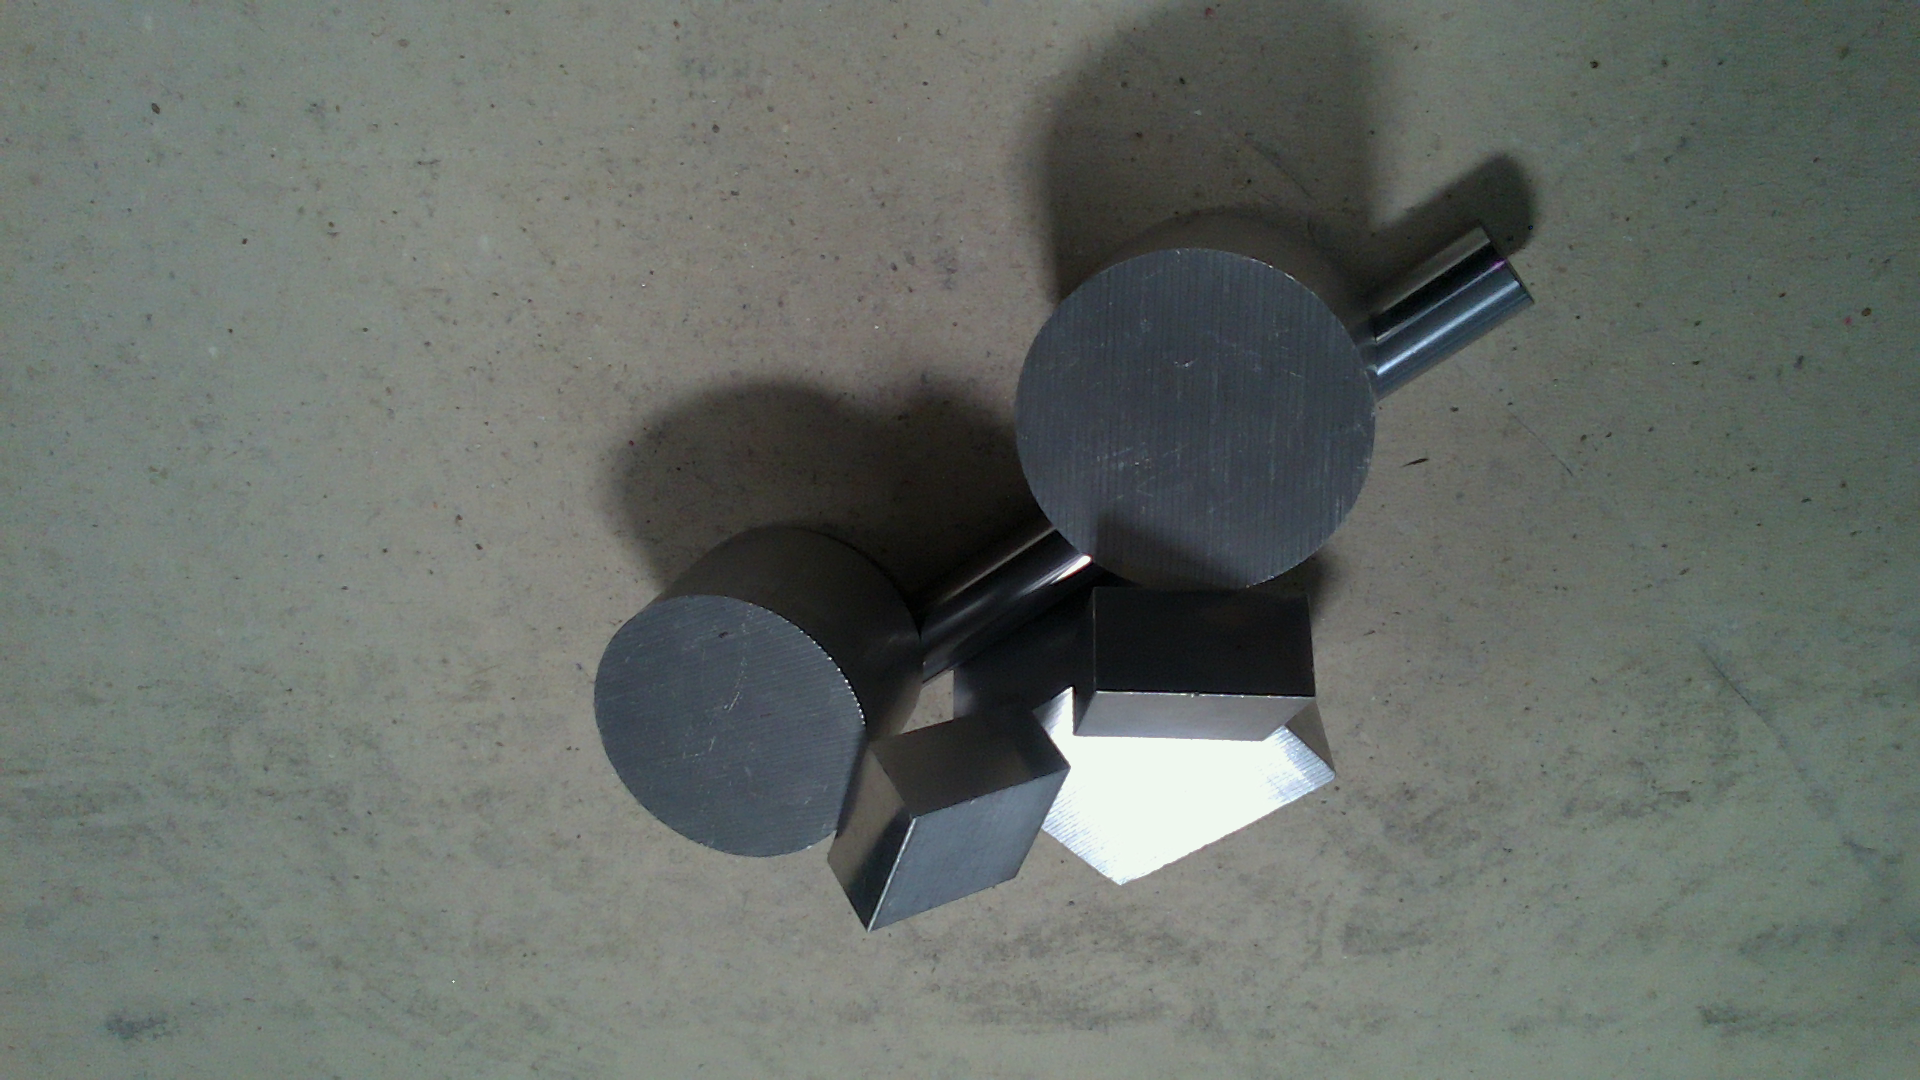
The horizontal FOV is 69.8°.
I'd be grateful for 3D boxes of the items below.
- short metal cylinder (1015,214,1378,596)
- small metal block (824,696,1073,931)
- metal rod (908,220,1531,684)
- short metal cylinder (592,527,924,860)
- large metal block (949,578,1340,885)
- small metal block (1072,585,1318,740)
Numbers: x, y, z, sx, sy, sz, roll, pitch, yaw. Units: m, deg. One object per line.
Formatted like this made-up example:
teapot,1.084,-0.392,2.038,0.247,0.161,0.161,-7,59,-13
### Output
short metal cylinder,0.058,-0.033,0.327,0.080,0.050,0.080,6,113,15
small metal block,-0.004,0.073,0.372,0.050,0.025,0.050,-12,139,-34
metal rod,0.020,0.009,0.398,0.299,0.025,0.025,-34,122,25
short metal cylinder,-0.056,0.043,0.392,0.080,0.050,0.080,6,112,15
large metal block,0.053,0.049,0.414,0.080,0.050,0.080,-34,122,25
small metal block,0.055,0.031,0.336,0.050,0.025,0.050,2,161,-1
